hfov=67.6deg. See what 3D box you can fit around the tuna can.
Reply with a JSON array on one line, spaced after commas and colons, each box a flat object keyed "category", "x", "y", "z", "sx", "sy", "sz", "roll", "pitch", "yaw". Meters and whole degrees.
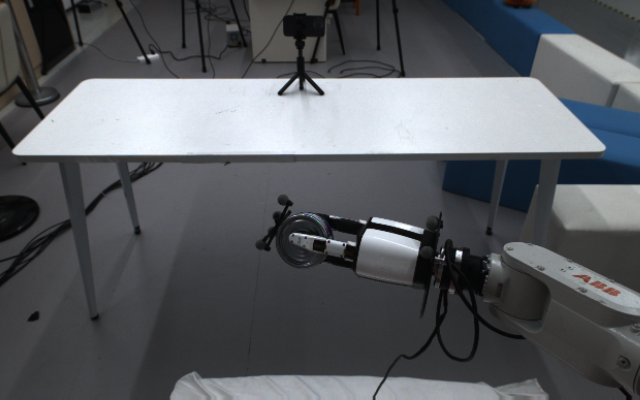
[{"category": "tuna can", "x": -0.021, "y": 0.064, "z": 0.743, "sx": 0.085, "sy": 0.085, "sz": 0.034, "roll": 8, "pitch": 5, "yaw": 9}]
